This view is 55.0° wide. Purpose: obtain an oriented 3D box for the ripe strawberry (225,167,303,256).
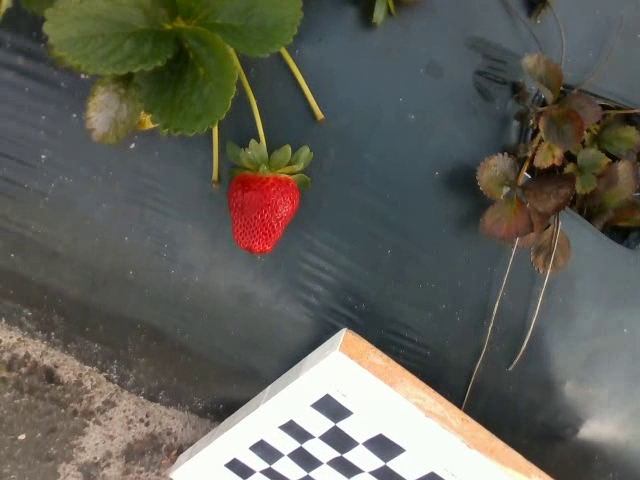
[{"bbox_3d":[-0.035,-0.015,0.344,0.045,0.055,0.042,1,-25,26],"label":"ripe strawberry"}]
